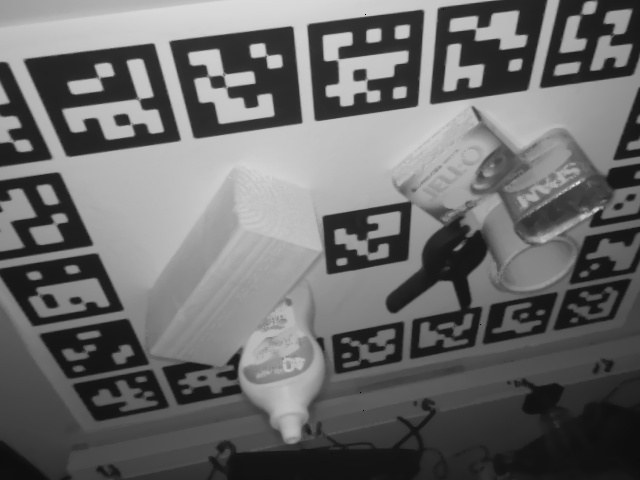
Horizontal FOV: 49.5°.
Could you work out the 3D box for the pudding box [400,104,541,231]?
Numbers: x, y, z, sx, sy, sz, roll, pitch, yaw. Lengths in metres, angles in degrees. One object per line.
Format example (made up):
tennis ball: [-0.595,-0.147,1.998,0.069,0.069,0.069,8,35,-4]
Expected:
pudding box: [0.152,-0.071,0.711,0.112,0.039,0.091,-39,129,23]

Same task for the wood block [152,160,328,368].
wood block: [-0.088,0.031,0.714,0.091,0.091,0.203,20,127,-31]

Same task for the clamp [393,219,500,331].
clamp: [0.166,0.046,0.830,0.123,0.037,0.163,6,128,-17]

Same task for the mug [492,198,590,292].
mug: [0.246,0.008,0.808,0.094,0.082,0.115,8,128,-20]

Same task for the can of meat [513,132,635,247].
can of meat: [0.255,-0.053,0.715,0.101,0.084,0.058,-32,130,16]

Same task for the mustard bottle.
mustard bottle: [-0.031,0.137,0.749,0.096,0.192,0.058,-13,133,-2]
